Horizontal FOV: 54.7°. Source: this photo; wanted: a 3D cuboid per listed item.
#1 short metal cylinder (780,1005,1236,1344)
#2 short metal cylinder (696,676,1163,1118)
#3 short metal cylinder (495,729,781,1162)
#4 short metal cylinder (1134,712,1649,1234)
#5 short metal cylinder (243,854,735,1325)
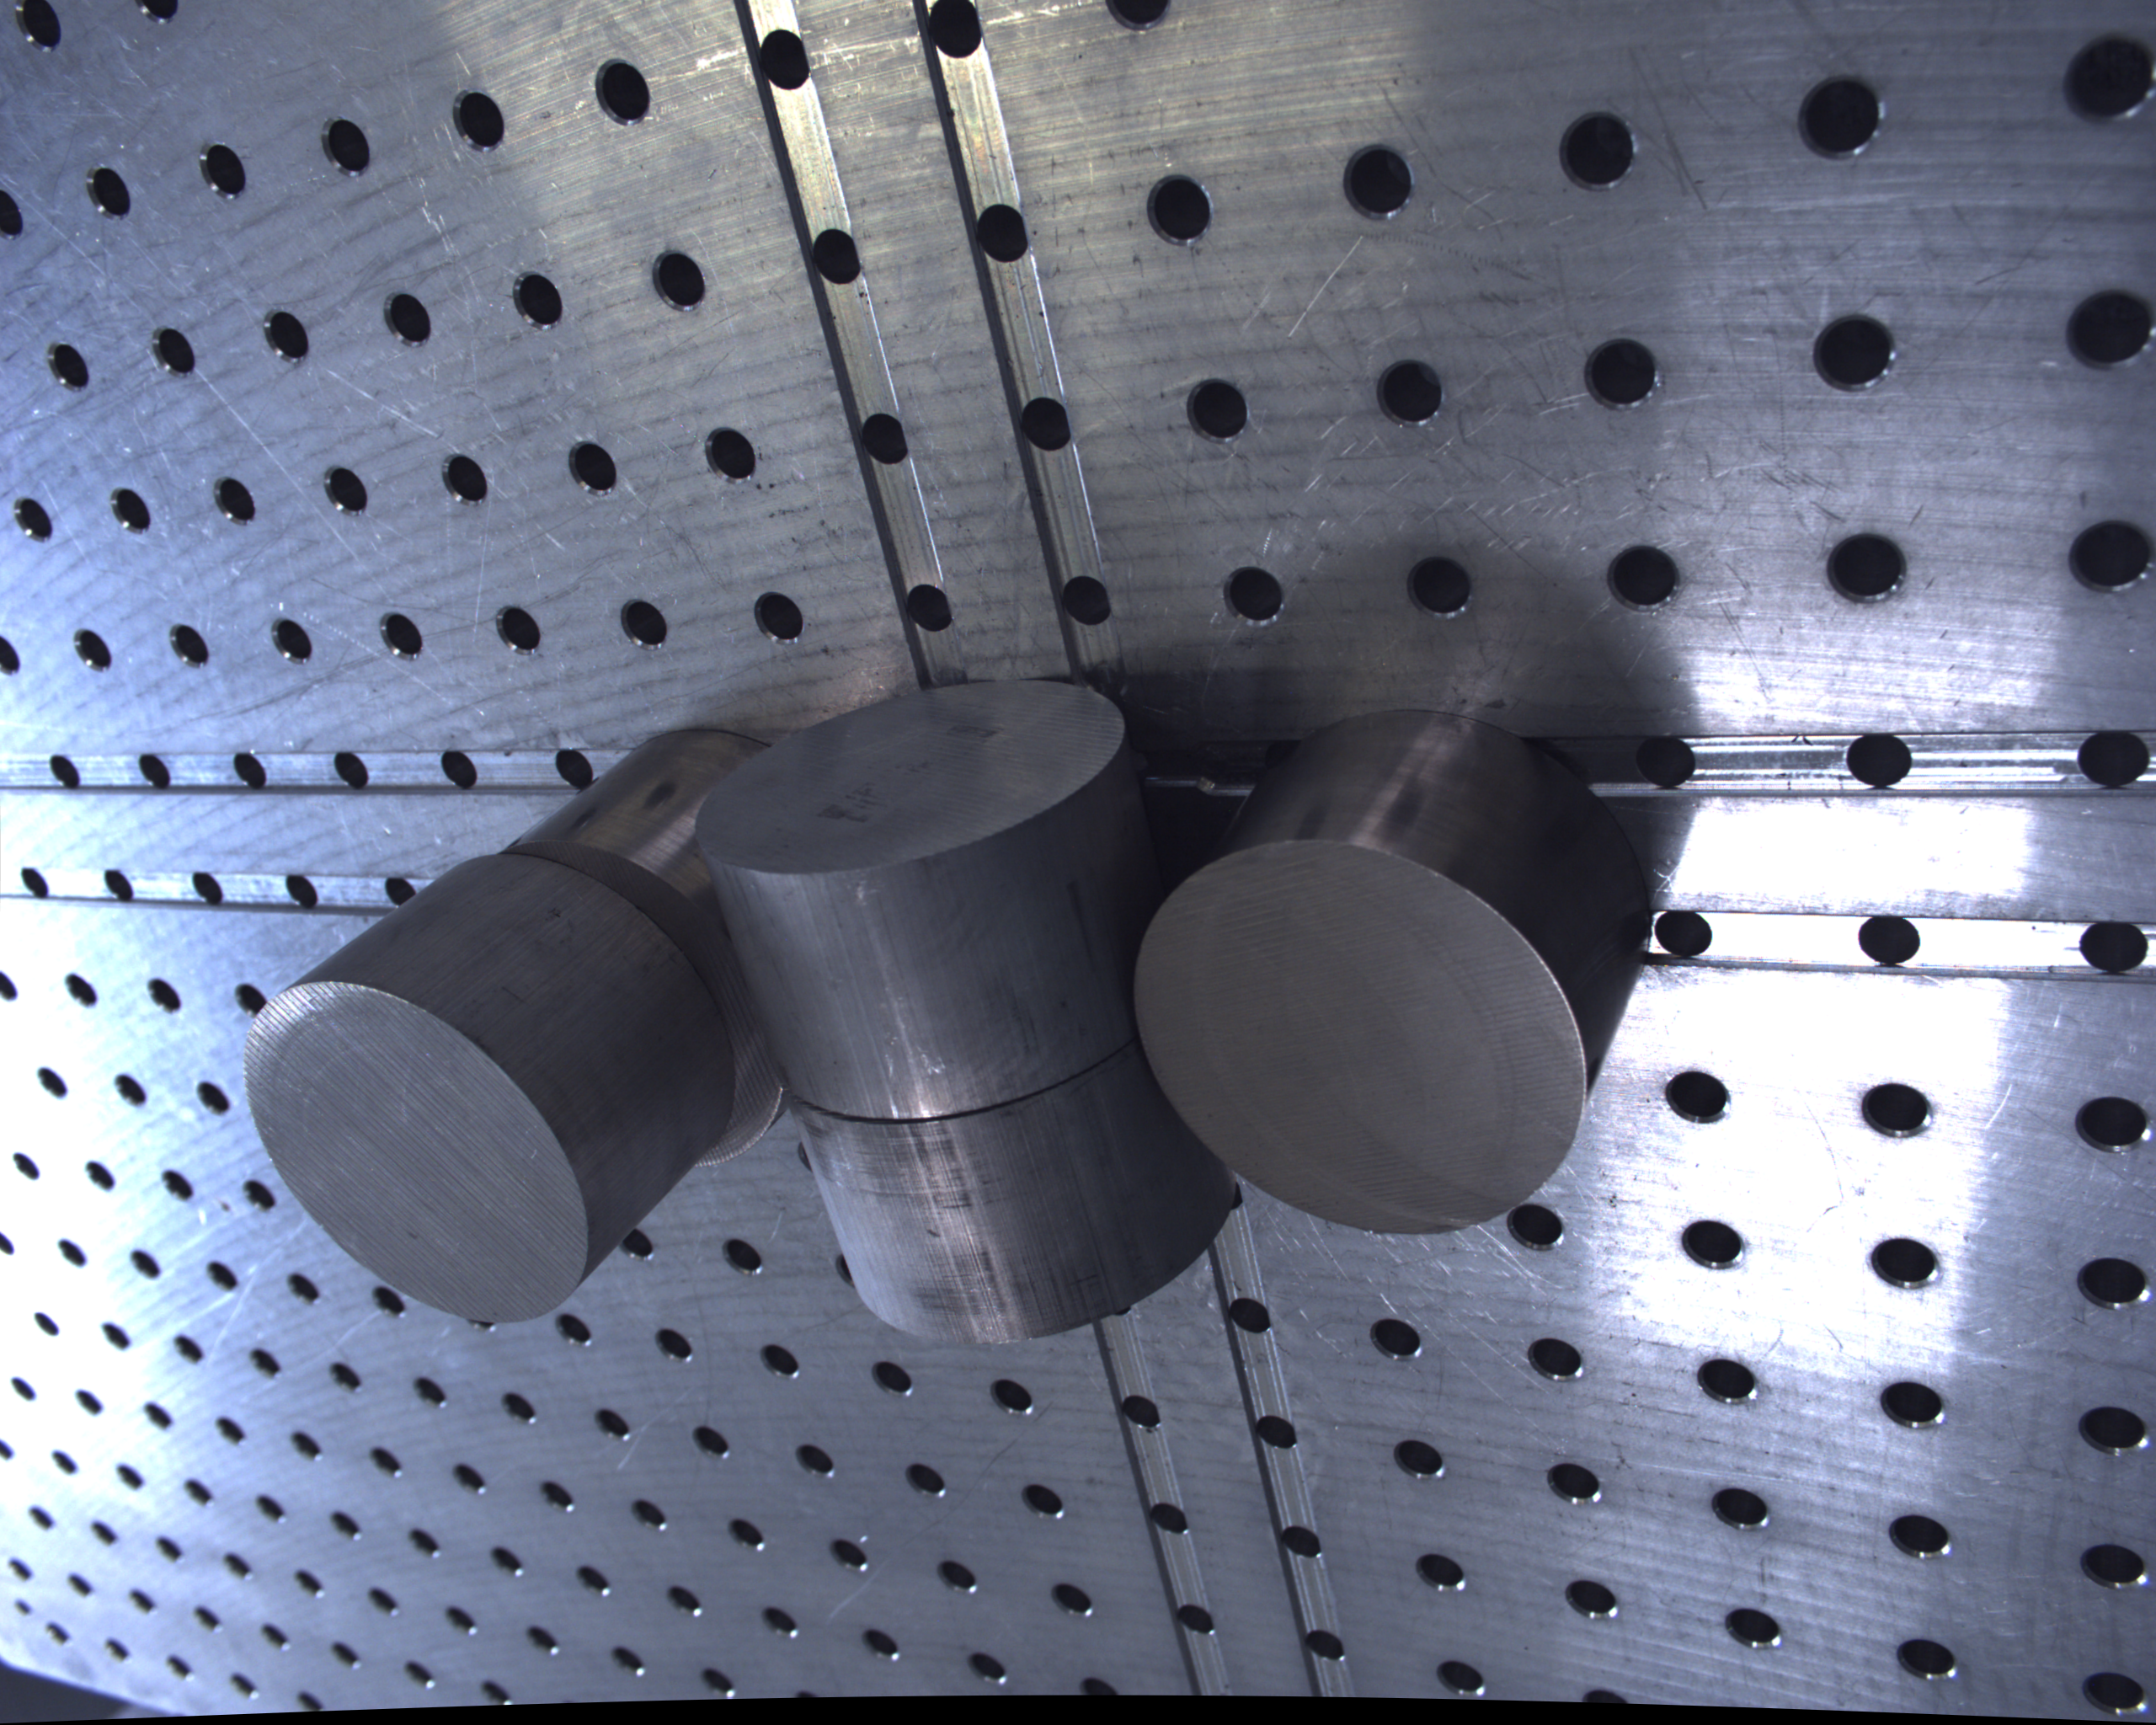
[{"bbox_3d":[-0.013,0.049,0.413,0.080,0.080,0.050,-1,118,29],"label":"short metal cylinder"},{"bbox_3d":[-0.025,0.004,0.392,0.080,0.080,0.050,1,120,28],"label":"short metal cylinder"},{"bbox_3d":[-0.085,0.018,0.451,0.080,0.050,0.079,13,124,20],"label":"short metal cylinder"},{"bbox_3d":[0.057,0.019,0.376,0.080,0.050,0.079,13,124,20],"label":"short metal cylinder"},{"bbox_3d":[-0.117,0.045,0.418,0.080,0.050,0.079,13,124,21],"label":"short metal cylinder"}]
